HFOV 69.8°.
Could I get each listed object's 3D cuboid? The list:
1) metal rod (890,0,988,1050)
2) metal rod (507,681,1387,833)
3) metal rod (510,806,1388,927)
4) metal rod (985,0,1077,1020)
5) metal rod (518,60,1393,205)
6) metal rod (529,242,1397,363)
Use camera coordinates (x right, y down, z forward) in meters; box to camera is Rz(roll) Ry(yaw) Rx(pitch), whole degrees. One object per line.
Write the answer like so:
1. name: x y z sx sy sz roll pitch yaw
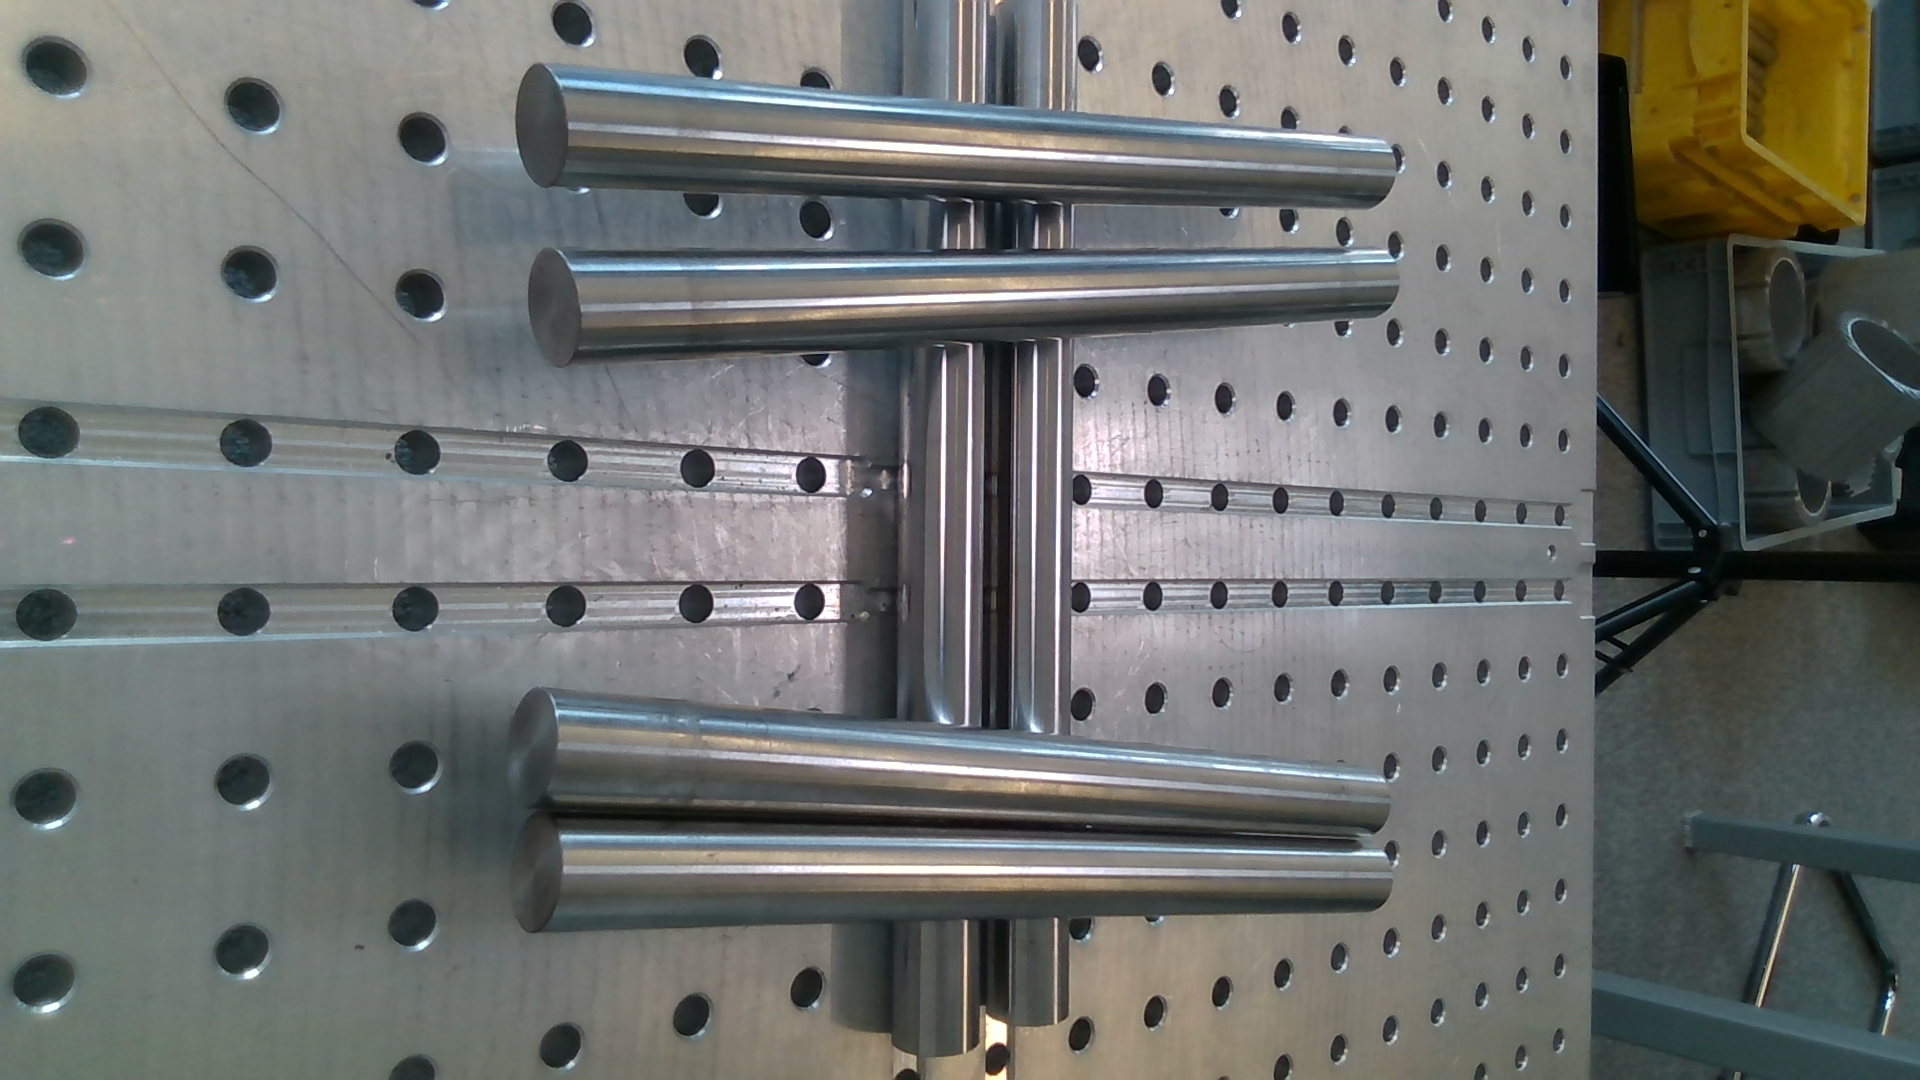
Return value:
1. metal rod: -0.006 -0.010 0.390 0.025 0.025 0.300 1 89 -40
2. metal rod: 0.024 0.066 0.383 0.300 0.025 0.025 12 82 -40
3. metal rod: 0.025 0.092 0.383 0.300 0.025 0.025 12 82 -40
4. metal rod: 0.021 -0.010 0.412 0.025 0.025 0.300 1 89 -40
5. metal rod: 0.026 -0.108 0.384 0.300 0.025 0.025 -10 97 -40
6. metal rod: 0.028 -0.070 0.386 0.300 0.025 0.025 -10 96 -40
